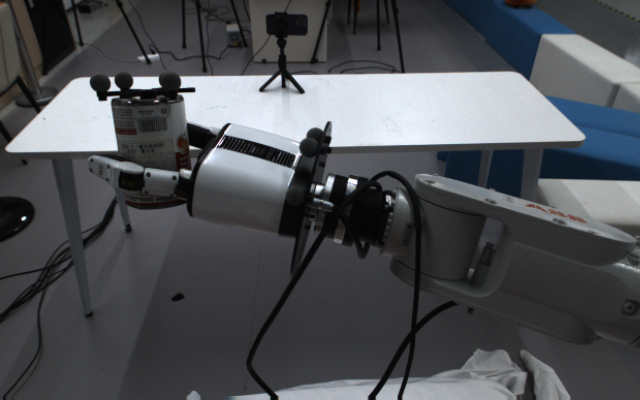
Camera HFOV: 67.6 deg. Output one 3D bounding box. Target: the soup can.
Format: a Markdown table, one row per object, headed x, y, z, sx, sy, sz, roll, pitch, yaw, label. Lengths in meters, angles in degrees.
| x | y | z | sx | sy | sz | roll | pitch | yaw | label |
| --- | --- | --- | --- | --- | --- | --- | --- | --- | --- |
| -0.160 | -0.047 | 0.472 | 0.067 | 0.101 | 0.067 | -1 | 17 | 0 | soup can |
